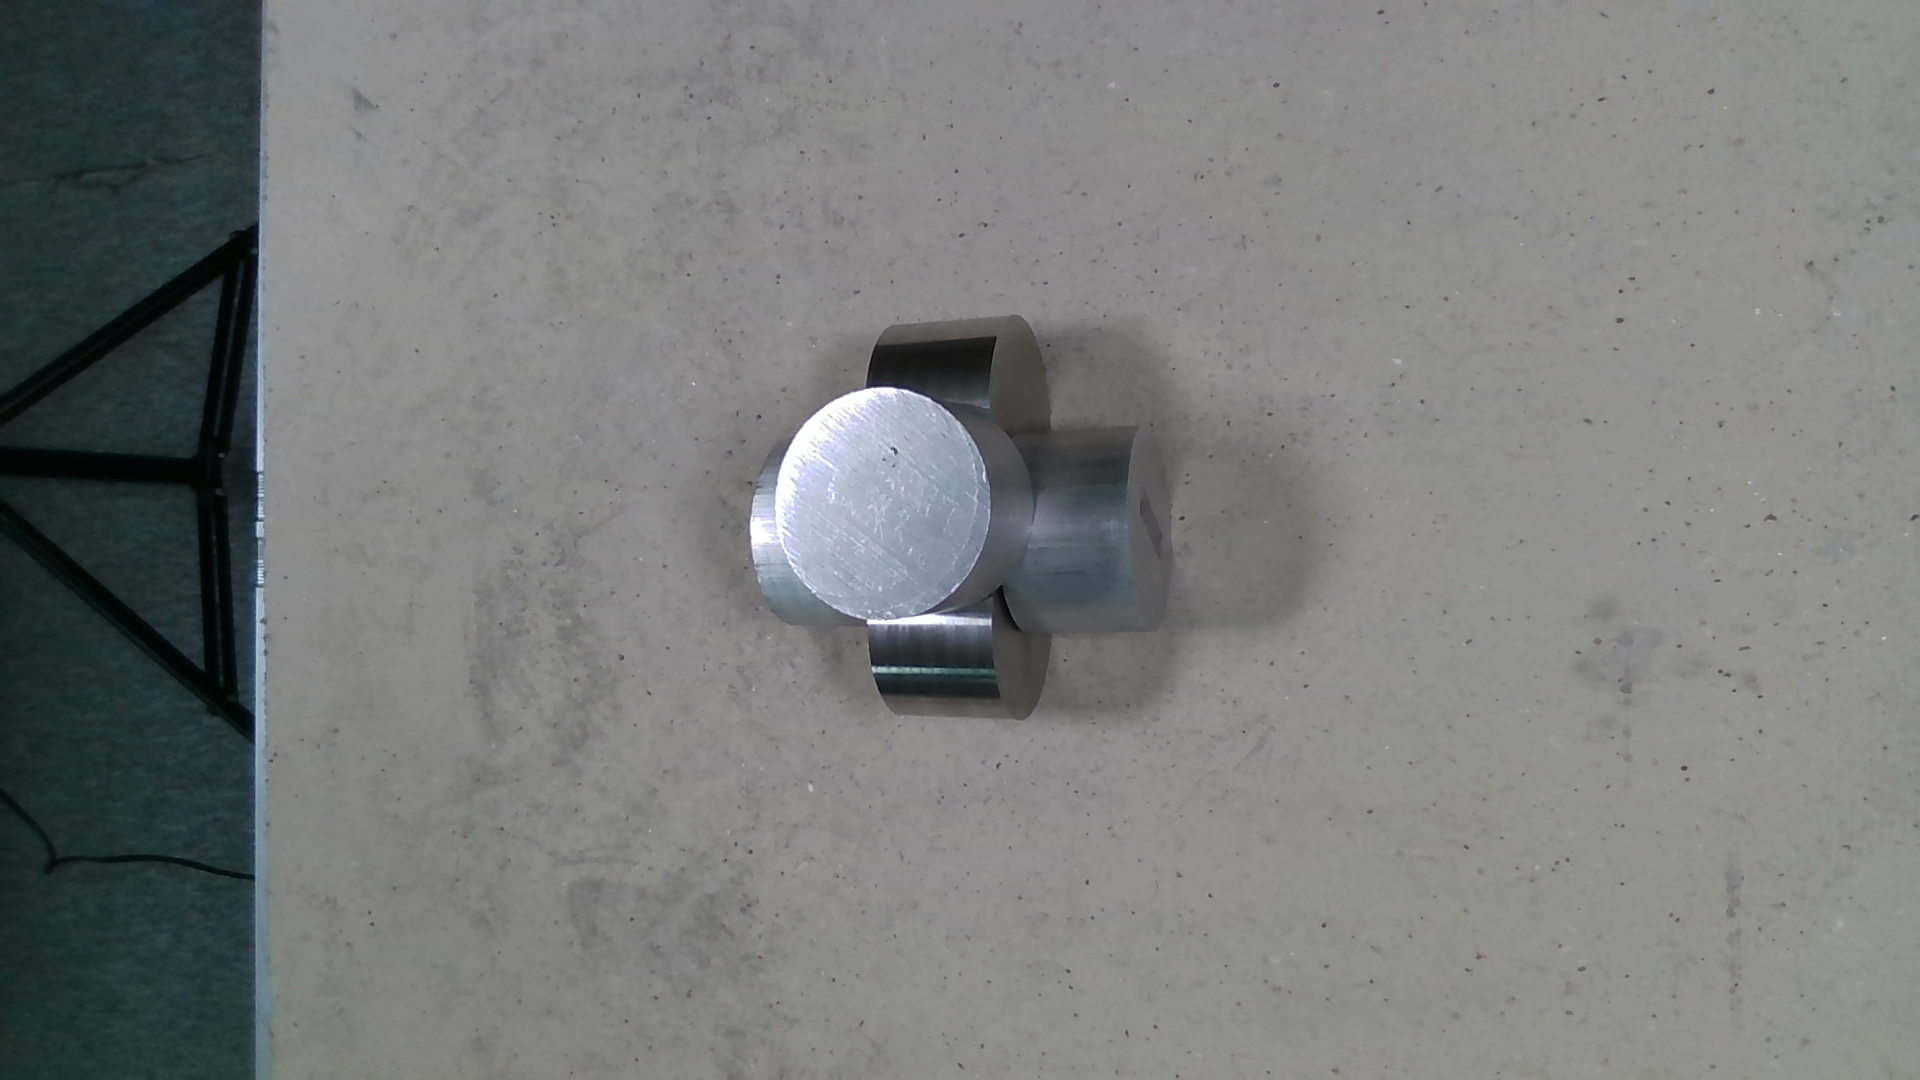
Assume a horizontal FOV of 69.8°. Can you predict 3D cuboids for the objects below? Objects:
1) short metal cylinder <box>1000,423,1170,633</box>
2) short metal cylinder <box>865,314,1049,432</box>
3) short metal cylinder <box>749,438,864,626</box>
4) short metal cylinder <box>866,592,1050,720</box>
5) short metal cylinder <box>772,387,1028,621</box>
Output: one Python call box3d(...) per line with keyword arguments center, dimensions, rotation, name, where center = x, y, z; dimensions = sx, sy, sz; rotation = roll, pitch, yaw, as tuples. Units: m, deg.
box3d(center=(0.050, -0.004, 0.538), dimensions=(0.050, 0.080, 0.080), rotation=(-2, 90, 20), name="short metal cylinder")
box3d(center=(0.001, -0.049, 0.556), dimensions=(0.050, 0.080, 0.080), rotation=(-1, 90, 20), name="short metal cylinder")
box3d(center=(-0.046, -0.004, 0.573), dimensions=(0.050, 0.080, 0.080), rotation=(0, 90, 20), name="short metal cylinder")
box3d(center=(0.001, 0.032, 0.556), dimensions=(0.050, 0.080, 0.080), rotation=(0, 90, 20), name="short metal cylinder")
box3d(center=(-0.020, -0.012, 0.494), dimensions=(0.080, 0.050, 0.080), rotation=(0, 90, 20), name="short metal cylinder")
